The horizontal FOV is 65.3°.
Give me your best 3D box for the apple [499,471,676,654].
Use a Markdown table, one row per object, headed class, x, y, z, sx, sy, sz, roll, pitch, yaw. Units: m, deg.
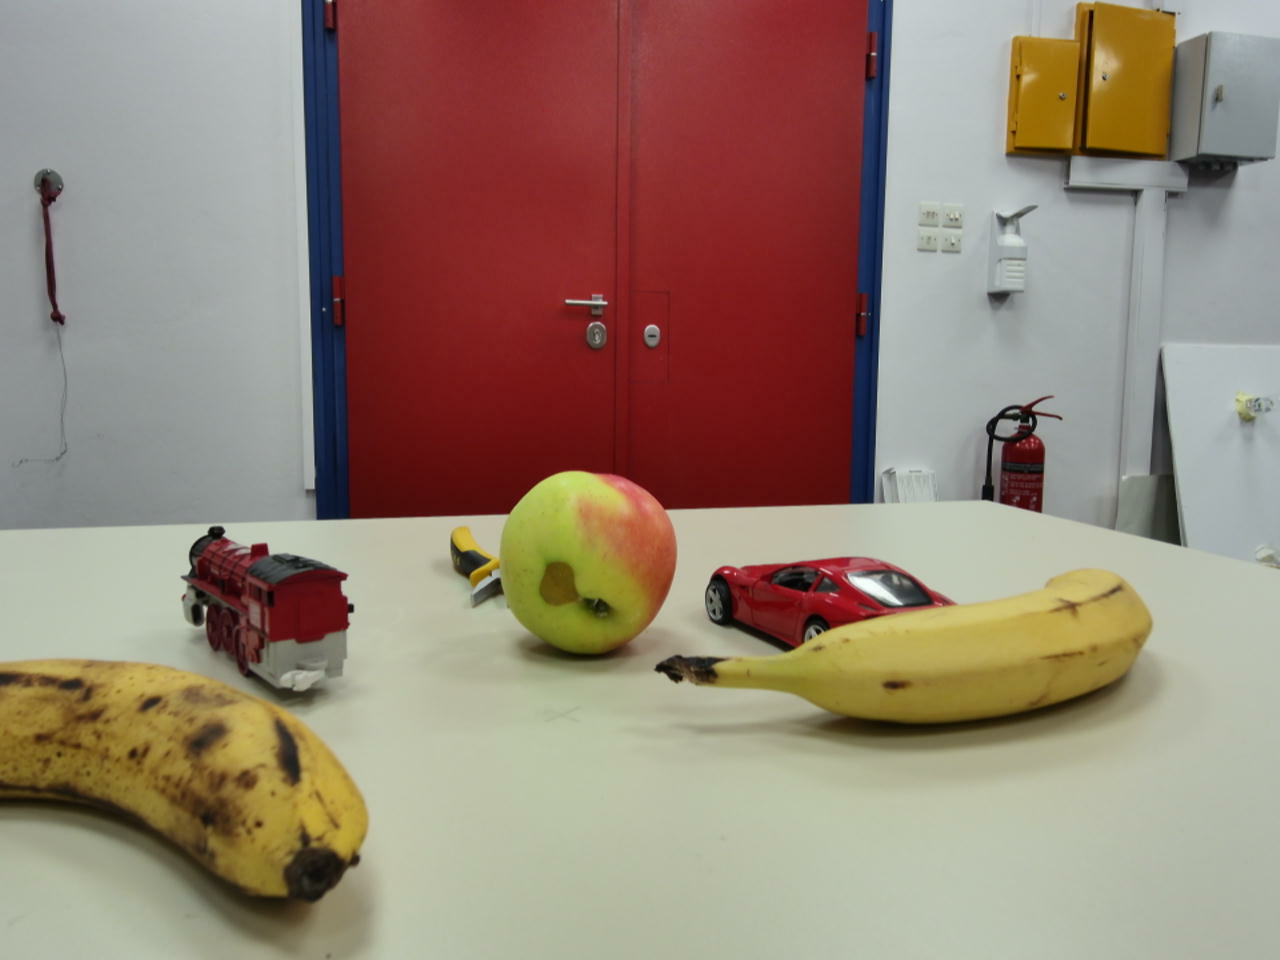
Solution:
| class | x | y | z | sx | sy | sz | roll | pitch | yaw |
| --- | --- | --- | --- | --- | --- | --- | --- | --- | --- |
| apple | -0.021 | 0.034 | 0.421 | 0.075 | 0.074 | 0.075 | -3 | 5 | -33 |
